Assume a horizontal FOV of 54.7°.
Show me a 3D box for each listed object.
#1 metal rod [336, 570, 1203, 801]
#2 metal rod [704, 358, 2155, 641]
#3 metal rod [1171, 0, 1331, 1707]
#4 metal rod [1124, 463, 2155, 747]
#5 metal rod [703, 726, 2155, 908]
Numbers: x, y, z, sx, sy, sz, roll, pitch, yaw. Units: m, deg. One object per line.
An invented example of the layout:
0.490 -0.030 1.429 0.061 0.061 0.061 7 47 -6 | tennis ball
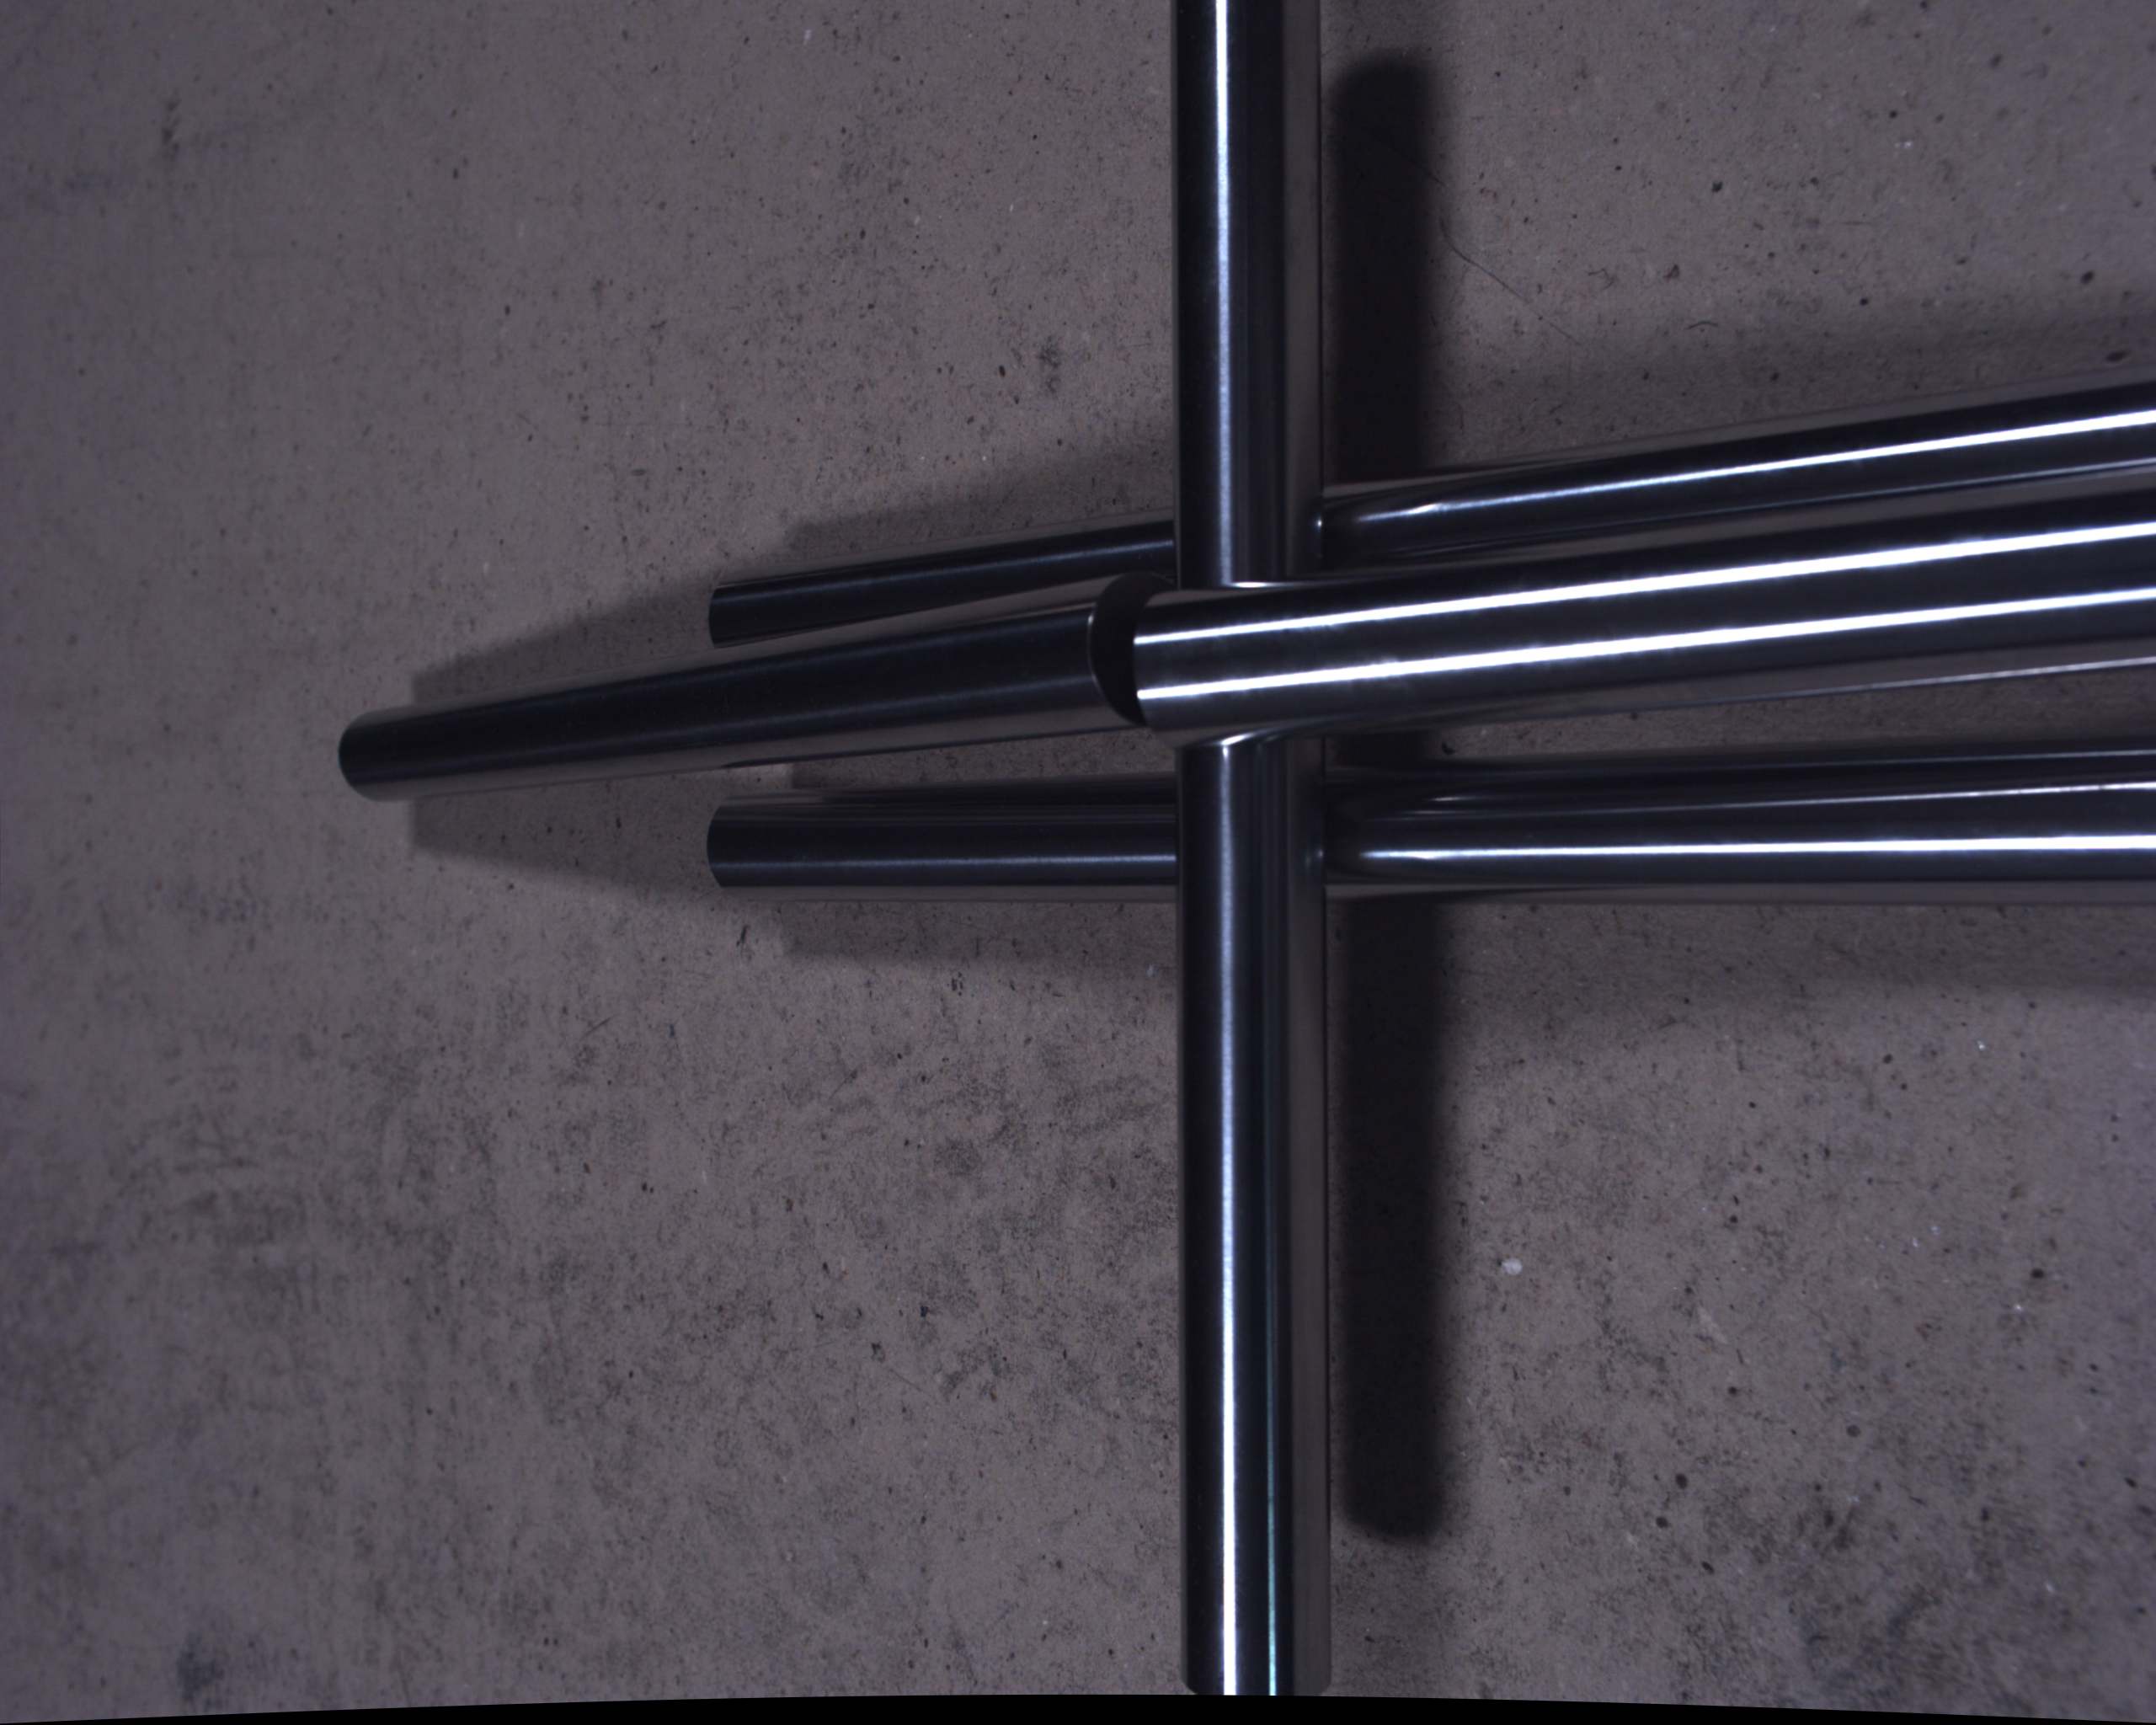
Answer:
-0.087 -0.031 0.443 0.300 0.025 0.025 -2 89 49 | metal rod
0.043 -0.055 0.369 0.300 0.025 0.025 -1 90 39 | metal rod
0.029 -0.013 0.348 0.025 0.025 0.298 -1 90 39 | metal rod
0.144 -0.038 0.254 0.300 0.025 0.025 -3 88 29 | metal rod
0.043 -0.005 0.369 0.300 0.025 0.025 -1 90 39 | metal rod
